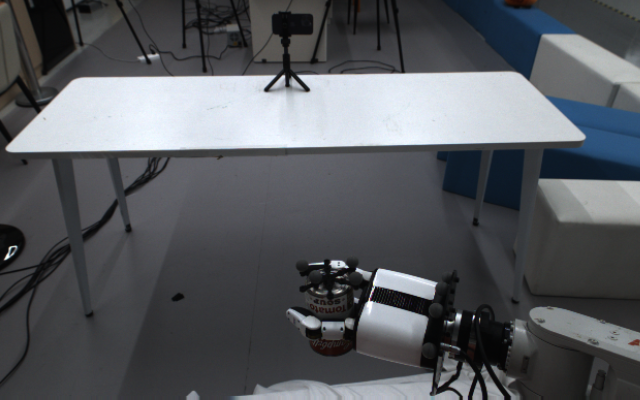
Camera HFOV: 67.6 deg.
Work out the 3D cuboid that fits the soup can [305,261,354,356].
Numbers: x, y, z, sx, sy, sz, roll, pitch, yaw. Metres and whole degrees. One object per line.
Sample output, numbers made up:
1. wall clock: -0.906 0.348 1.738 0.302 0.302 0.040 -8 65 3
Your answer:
1. soup can: 0.016 0.154 0.667 0.067 0.101 0.067 -4 25 2
